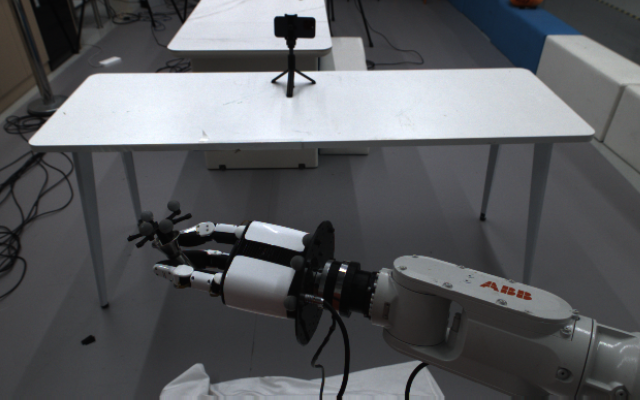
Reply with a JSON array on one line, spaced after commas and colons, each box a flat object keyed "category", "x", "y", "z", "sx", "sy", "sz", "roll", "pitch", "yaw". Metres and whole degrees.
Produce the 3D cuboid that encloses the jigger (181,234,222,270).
[{"category": "jigger", "x": -0.190, "y": 0.078, "z": 0.660, "sx": 0.043, "sy": 0.071, "sz": 0.043, "roll": -19, "pitch": 24, "yaw": 9}]
